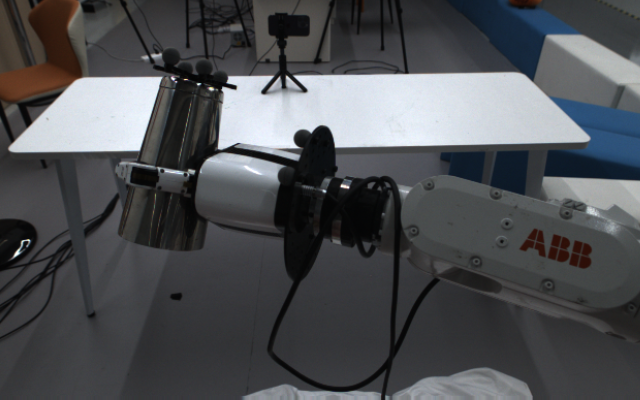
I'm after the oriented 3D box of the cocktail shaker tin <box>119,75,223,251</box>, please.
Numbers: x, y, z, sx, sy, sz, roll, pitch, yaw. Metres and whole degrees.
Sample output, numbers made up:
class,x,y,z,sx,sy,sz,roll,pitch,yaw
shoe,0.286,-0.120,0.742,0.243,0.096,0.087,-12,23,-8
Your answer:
class,x,y,z,sx,sy,sz,roll,pitch,yaw
cocktail shaker tin,-0.152,-0.038,0.522,0.093,0.170,0.093,13,4,-1
